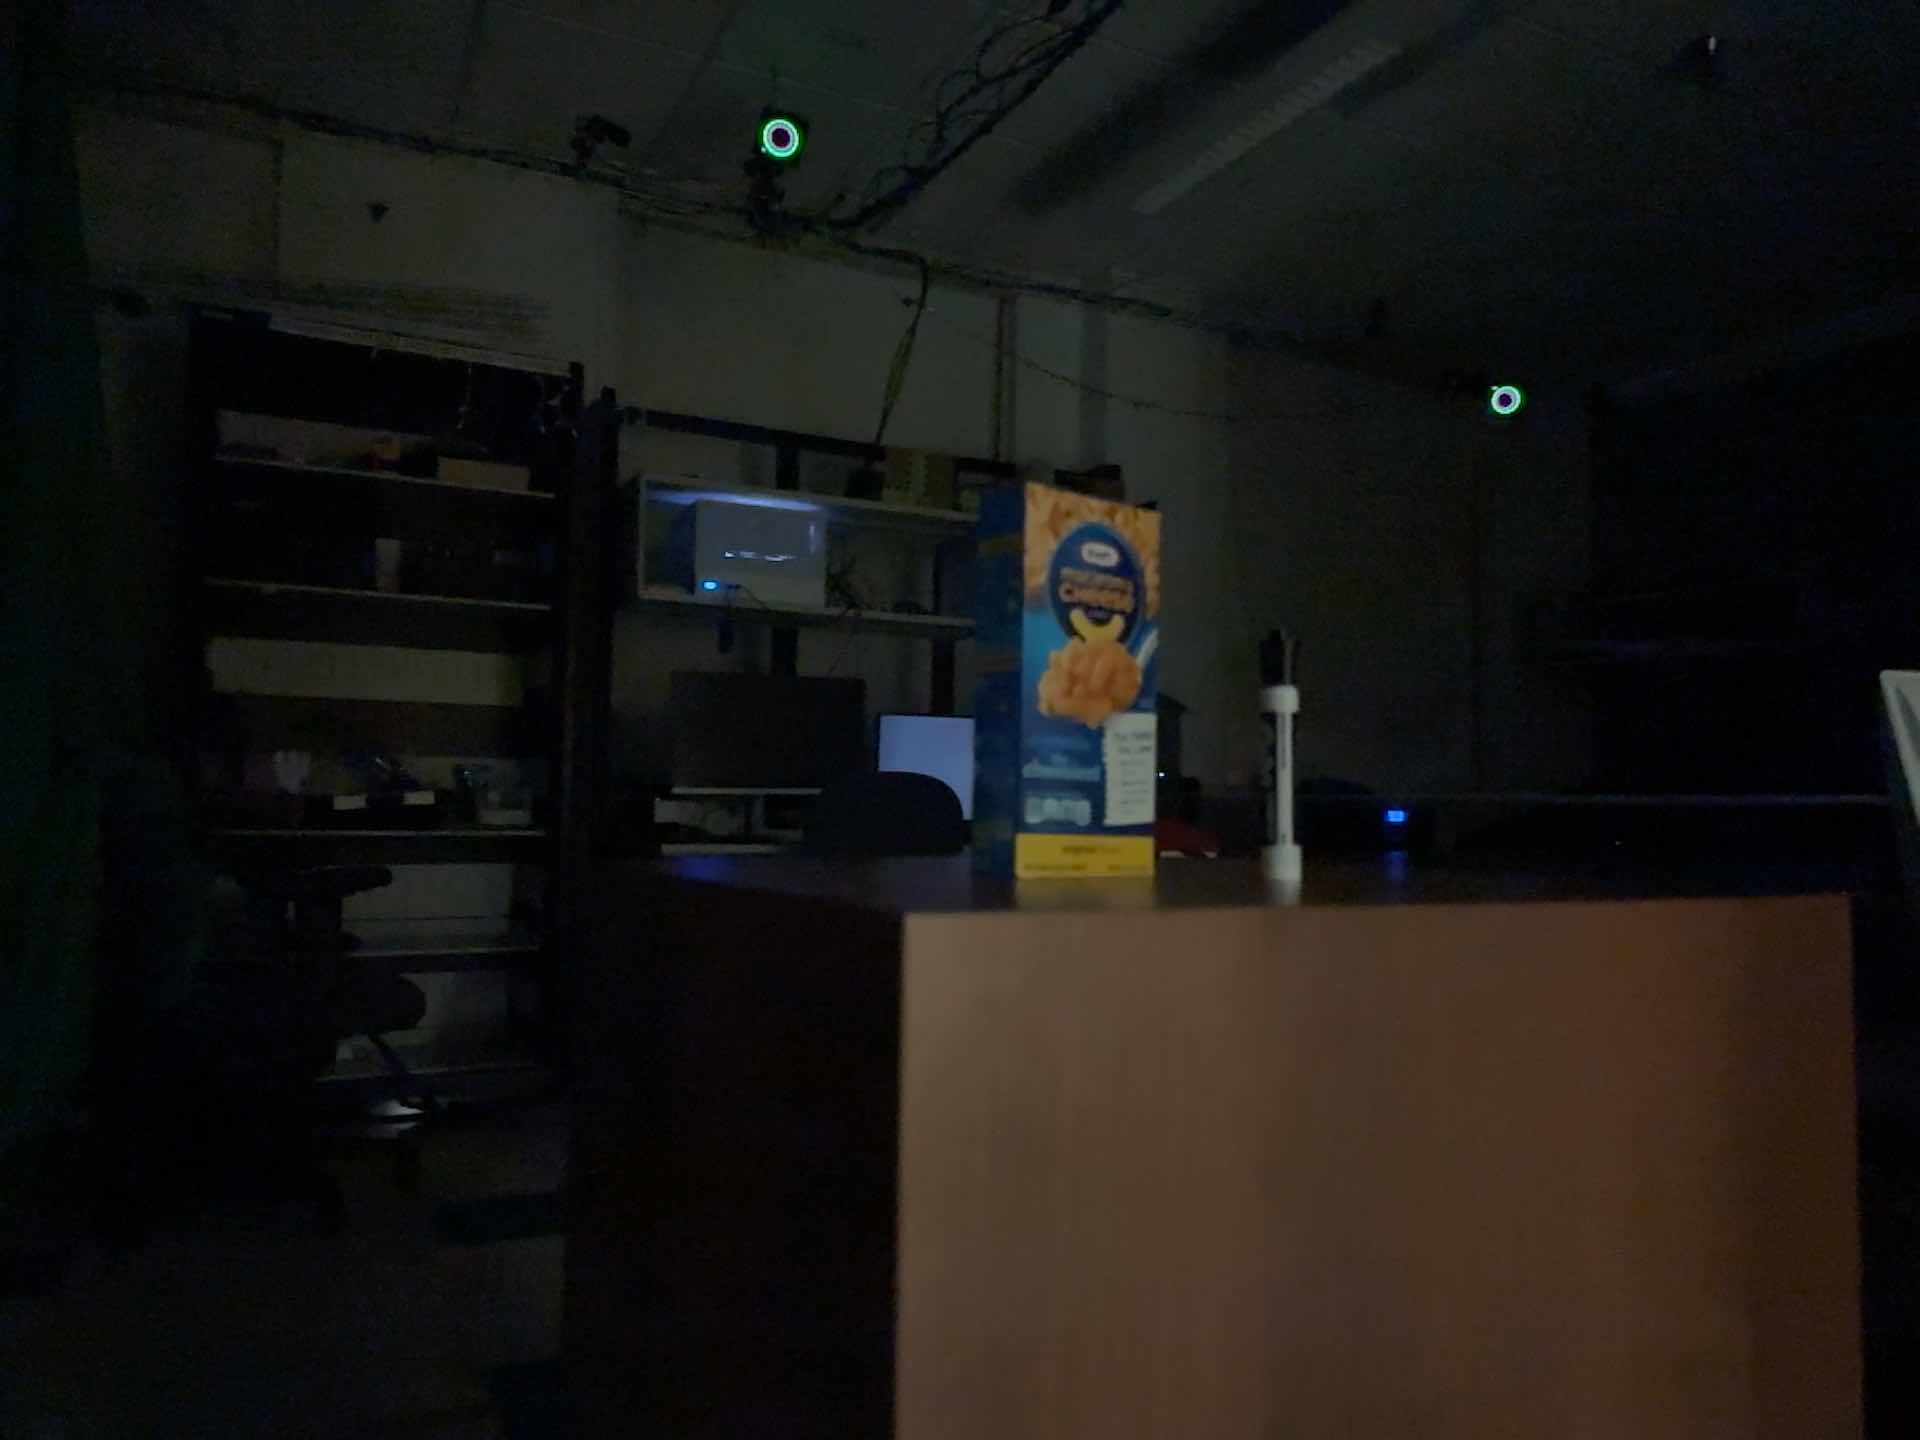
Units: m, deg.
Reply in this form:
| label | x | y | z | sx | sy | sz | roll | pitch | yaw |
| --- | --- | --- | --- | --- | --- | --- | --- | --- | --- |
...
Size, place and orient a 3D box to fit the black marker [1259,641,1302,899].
| label | x | y | z | sx | sy | sz | roll | pitch | yaw |
| --- | --- | --- | --- | --- | --- | --- | --- | --- | --- |
| black marker | 0.152 | 0.023 | 0.637 | 0.020 | 0.121 | 0.020 | 0 | -3 | 0 |

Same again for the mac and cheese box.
| label | x | y | z | sx | sy | sz | roll | pitch | yaw |
| --- | --- | --- | --- | --- | --- | --- | --- | --- | --- |
| mac and cheese box | 0.050 | -0.012 | 0.644 | 0.088 | 0.181 | 0.035 | 3 | -3 | -33 |
